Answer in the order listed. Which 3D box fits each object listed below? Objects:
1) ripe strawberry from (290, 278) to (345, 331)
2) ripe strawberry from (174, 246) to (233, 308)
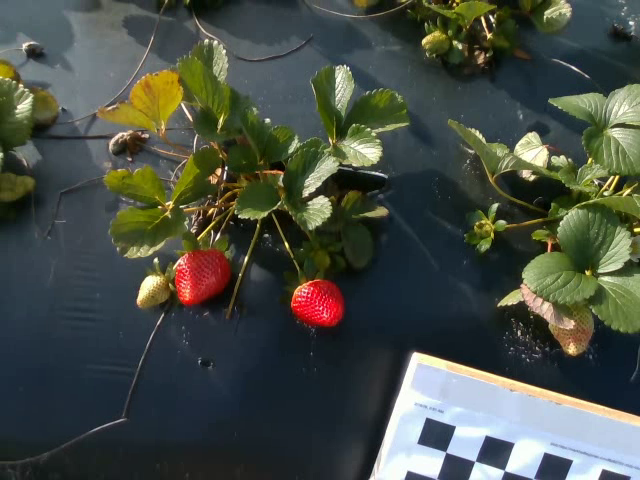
[{"bbox_3d":[0.001,0.038,0.345,0.033,0.038,0.039,20,25,-21],"label":"ripe strawberry"},{"bbox_3d":[-0.067,0.022,0.343,0.035,0.041,0.036,2,37,7],"label":"ripe strawberry"}]
